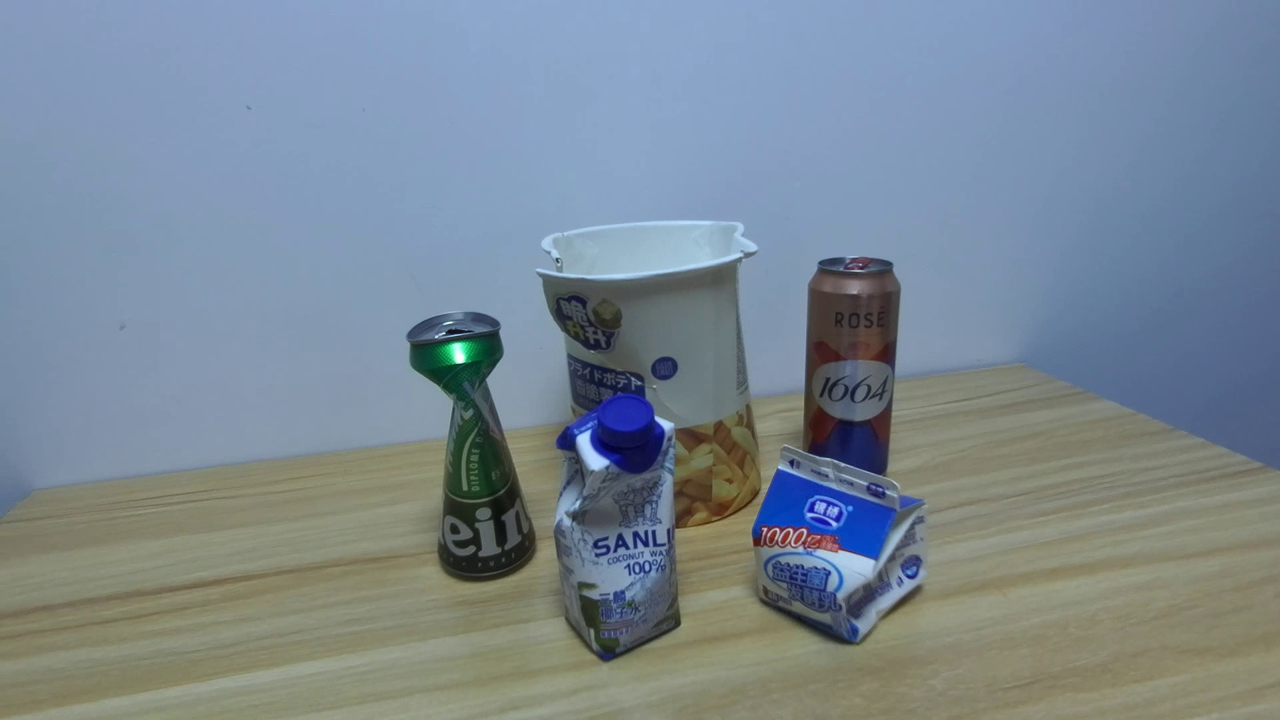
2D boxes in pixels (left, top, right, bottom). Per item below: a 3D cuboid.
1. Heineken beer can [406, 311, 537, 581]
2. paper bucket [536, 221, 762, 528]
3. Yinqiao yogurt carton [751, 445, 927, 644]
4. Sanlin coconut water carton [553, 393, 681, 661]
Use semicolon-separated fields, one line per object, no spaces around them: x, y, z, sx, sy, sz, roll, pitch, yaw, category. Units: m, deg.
-0.106;0.056;0.456;0.066;0.164;0.078;2;19;22;Heineken beer can
0.015;0.004;0.527;0.146;0.197;0.202;-5;18;-2;paper bucket
0.111;0.097;0.397;0.074;0.097;0.080;12;31;39;Yinqiao yogurt carton
-0.015;0.084;0.381;0.061;0.144;0.069;-14;22;-28;Sanlin coconut water carton
